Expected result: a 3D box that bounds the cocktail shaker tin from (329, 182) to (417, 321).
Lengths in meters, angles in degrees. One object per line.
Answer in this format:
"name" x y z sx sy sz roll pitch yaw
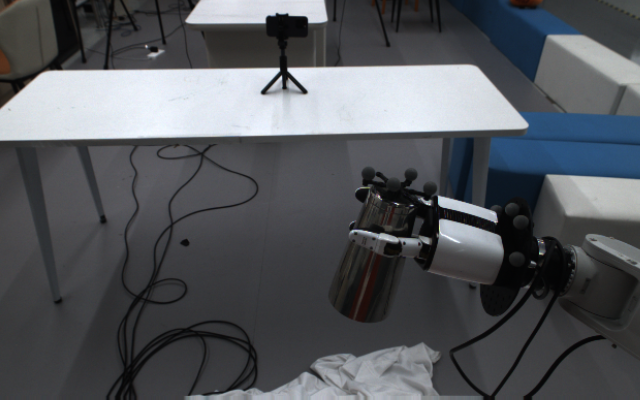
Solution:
"cocktail shaker tin" 0.079 0.064 0.649 0.093 0.170 0.093 12 25 -6
